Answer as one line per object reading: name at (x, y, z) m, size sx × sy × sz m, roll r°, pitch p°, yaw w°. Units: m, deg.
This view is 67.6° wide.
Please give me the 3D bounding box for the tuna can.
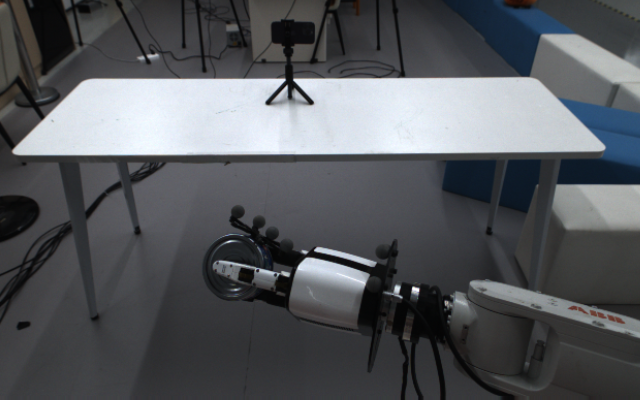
tuna can at (-0.103, 0.085, 0.616) m, size 0.085 × 0.085 × 0.034 m, roll 13°, pitch -4°, yaw 15°
